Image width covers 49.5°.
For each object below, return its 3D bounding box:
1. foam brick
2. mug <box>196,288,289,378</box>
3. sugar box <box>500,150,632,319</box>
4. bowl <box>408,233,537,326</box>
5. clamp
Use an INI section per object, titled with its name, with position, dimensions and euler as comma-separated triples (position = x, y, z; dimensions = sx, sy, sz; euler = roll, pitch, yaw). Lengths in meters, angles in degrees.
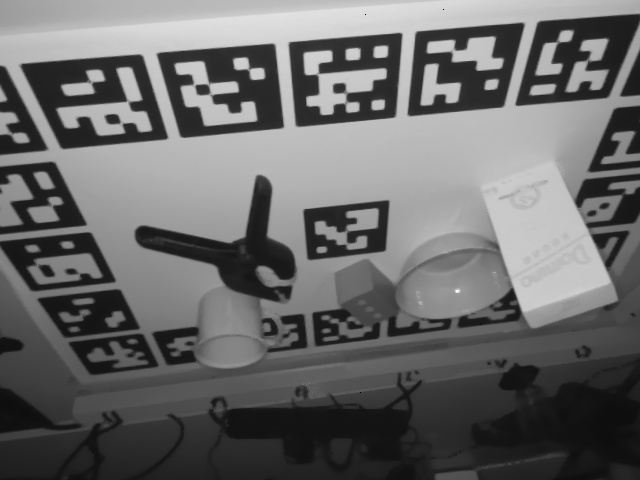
[foam brick]
position = 0.070, 0.066, 0.887
dimensions = 0.052, 0.051, 0.078
euler = -26, 134, 17
[mug]
position = -0.095, 0.118, 0.880
dimensions = 0.118, 0.082, 0.092
euler = 14, 133, -19
[sugar box]
position = 0.259, -0.010, 0.735
dimensions = 0.092, 0.177, 0.045
euler = -22, 134, 17
[bowl]
position = 0.186, 0.041, 0.869
dimensions = 0.162, 0.055, 0.160
euler = -5, 138, -3
[clamp]
position = -0.071, 0.016, 0.801
dimensions = 0.164, 0.037, 0.203
euler = -24, 135, 13
